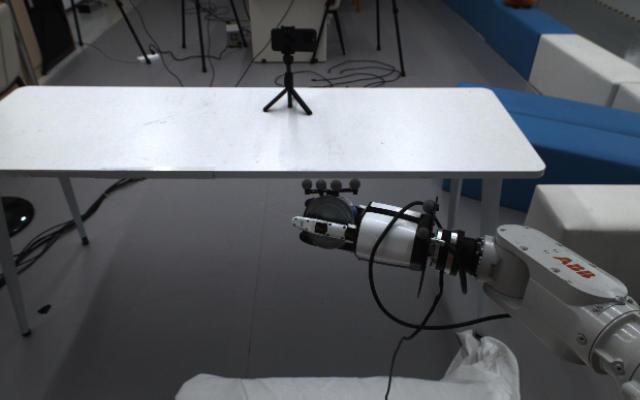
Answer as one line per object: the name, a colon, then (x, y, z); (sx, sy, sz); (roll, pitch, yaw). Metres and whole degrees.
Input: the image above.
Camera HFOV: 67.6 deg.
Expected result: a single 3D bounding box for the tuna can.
tuna can: (0.019, 0.032, 0.769); (0.085, 0.085, 0.034); (15, 10, 18)
